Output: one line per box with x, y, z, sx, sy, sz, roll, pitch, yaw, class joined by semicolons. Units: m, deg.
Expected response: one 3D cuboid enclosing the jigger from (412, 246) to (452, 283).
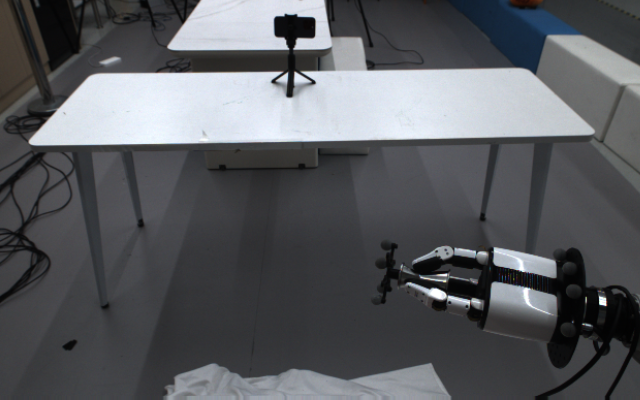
0.154;0.110;0.686;0.071;0.043;0.043;9;35;17;jigger
